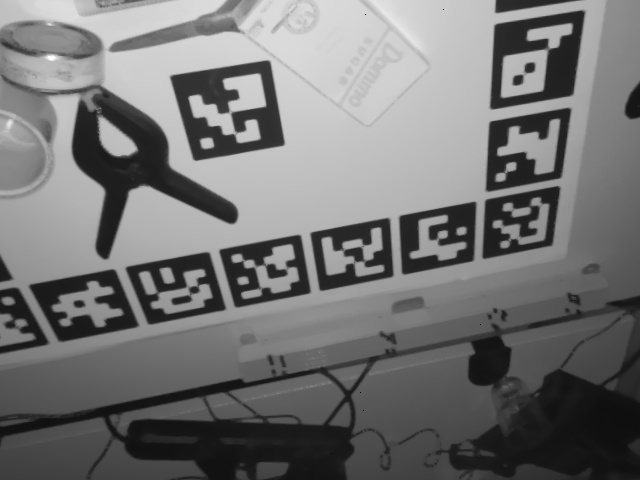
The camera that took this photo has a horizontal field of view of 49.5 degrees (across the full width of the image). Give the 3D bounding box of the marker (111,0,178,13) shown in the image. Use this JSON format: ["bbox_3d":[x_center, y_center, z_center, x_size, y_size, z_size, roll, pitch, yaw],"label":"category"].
[{"bbox_3d":[-0.127,-0.226,0.627,0.121,0.020,0.019,-12,126,-3],"label":"marker"}]

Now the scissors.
[{"bbox_3d":[-0.078,-0.199,0.654,0.202,0.016,0.087,-17,131,3],"label":"scissors"}]

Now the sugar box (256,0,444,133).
[{"bbox_3d":[0.032,-0.189,0.663,0.092,0.045,0.178,-40,129,18],"label":"sugar box"}]

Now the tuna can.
[{"bbox_3d":[-0.220,-0.164,0.613,0.086,0.086,0.033,5,125,-14],"label":"tuna can"}]

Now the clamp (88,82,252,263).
[{"bbox_3d":[-0.181,-0.075,0.729,0.165,0.037,0.202,-18,126,2],"label":"clamp"}]

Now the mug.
[{"bbox_3d":[-0.275,-0.115,0.644,0.092,0.082,0.117,-31,129,13],"label":"mug"}]
